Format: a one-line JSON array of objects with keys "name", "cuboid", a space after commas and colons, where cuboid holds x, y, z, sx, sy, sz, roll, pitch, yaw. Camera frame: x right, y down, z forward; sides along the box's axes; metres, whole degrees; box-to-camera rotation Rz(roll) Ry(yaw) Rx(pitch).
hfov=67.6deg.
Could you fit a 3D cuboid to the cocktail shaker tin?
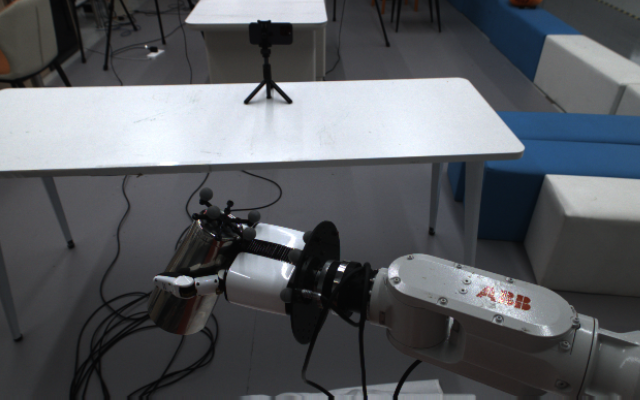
[{"name": "cocktail shaker tin", "cuboid": [-0.168, 0.091, 0.673, 0.093, 0.170, 0.093, 25, 29, -15]}]
